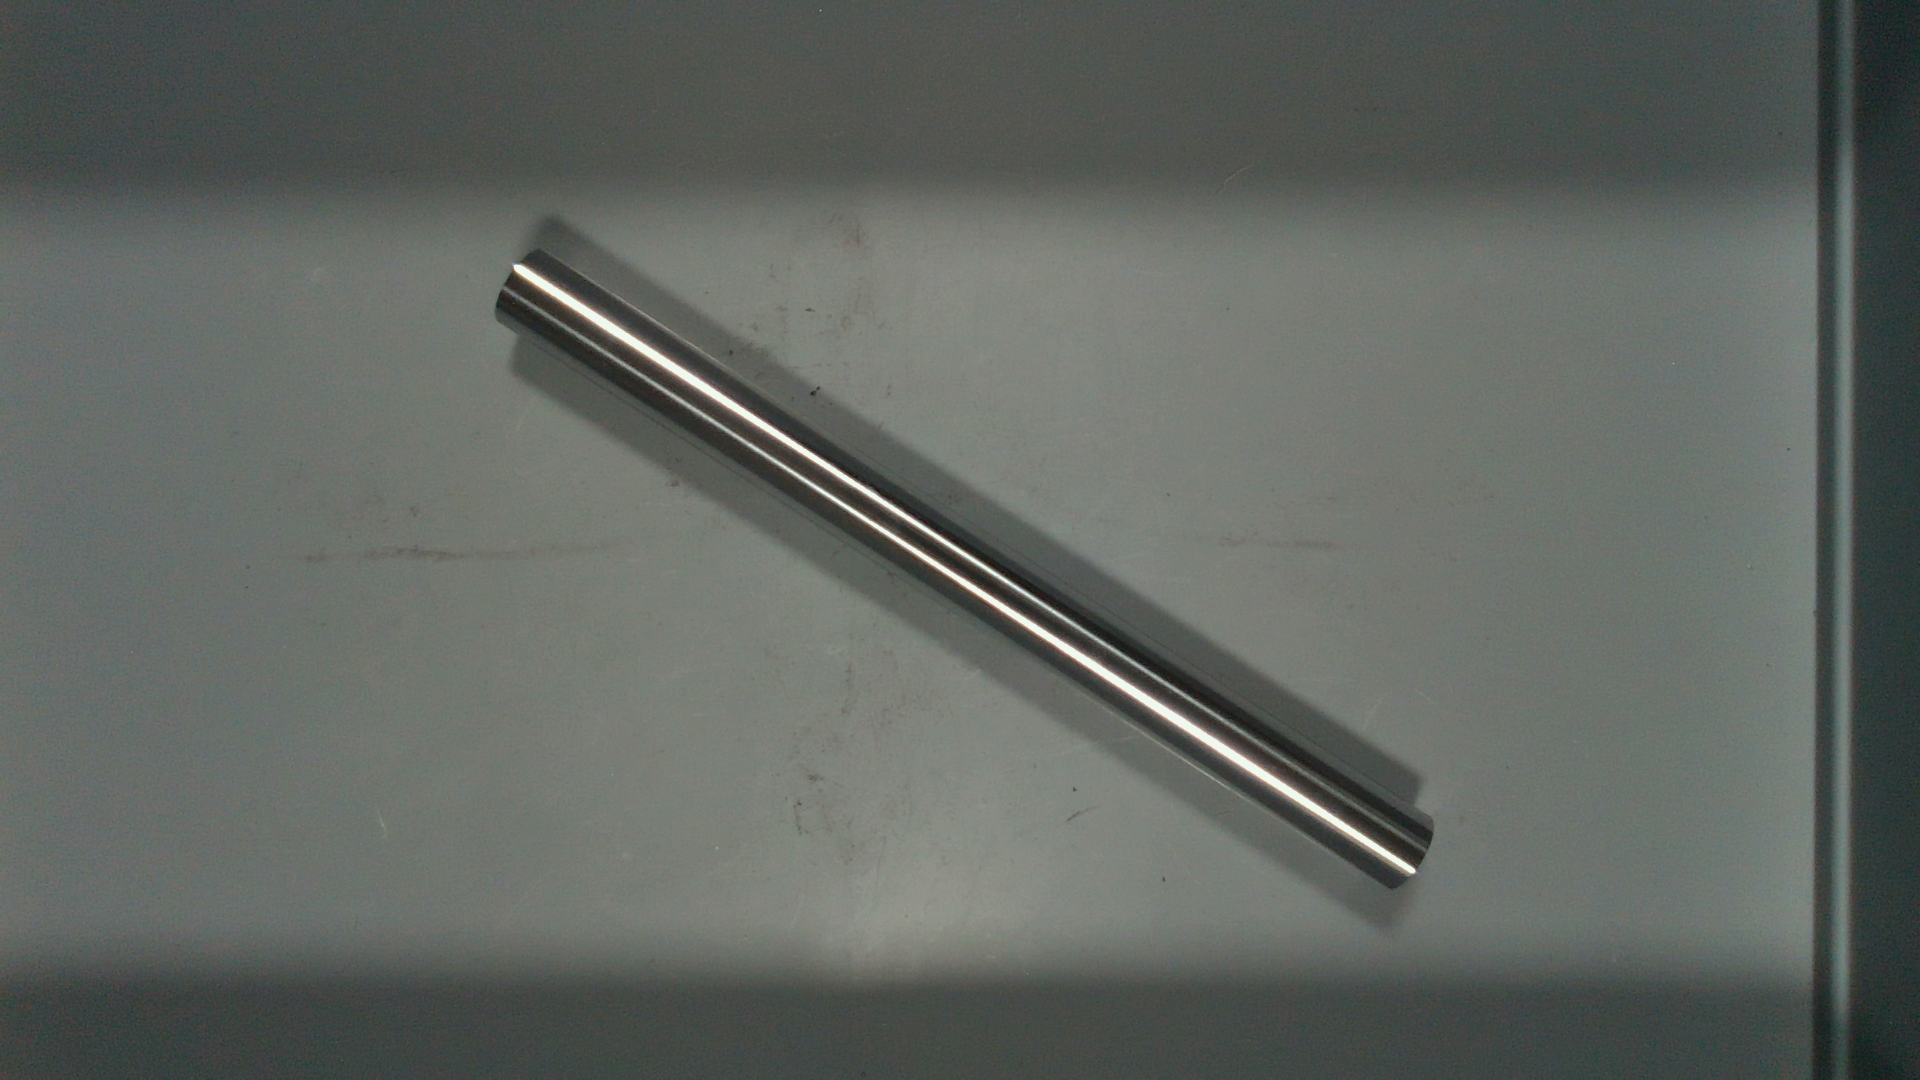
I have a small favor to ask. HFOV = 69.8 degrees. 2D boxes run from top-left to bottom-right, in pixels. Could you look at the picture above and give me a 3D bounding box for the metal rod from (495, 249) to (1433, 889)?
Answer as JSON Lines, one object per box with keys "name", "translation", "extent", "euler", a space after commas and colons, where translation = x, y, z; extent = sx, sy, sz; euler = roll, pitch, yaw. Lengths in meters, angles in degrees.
{"name": "metal rod", "translation": [0.001, 0.008, 0.394], "extent": [0.300, 0.025, 0.025], "euler": [33, 90, 0]}
